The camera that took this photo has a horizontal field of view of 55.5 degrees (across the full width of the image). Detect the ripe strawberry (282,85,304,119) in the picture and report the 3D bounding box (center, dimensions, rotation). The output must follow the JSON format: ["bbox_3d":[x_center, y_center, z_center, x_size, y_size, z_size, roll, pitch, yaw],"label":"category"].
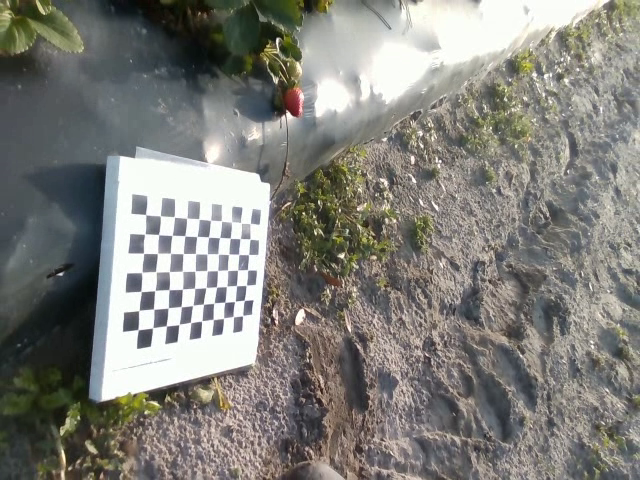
[{"bbox_3d":[-0.035,-0.226,0.987,0.034,0.050,0.047,-1,19,33],"label":"ripe strawberry"}]
